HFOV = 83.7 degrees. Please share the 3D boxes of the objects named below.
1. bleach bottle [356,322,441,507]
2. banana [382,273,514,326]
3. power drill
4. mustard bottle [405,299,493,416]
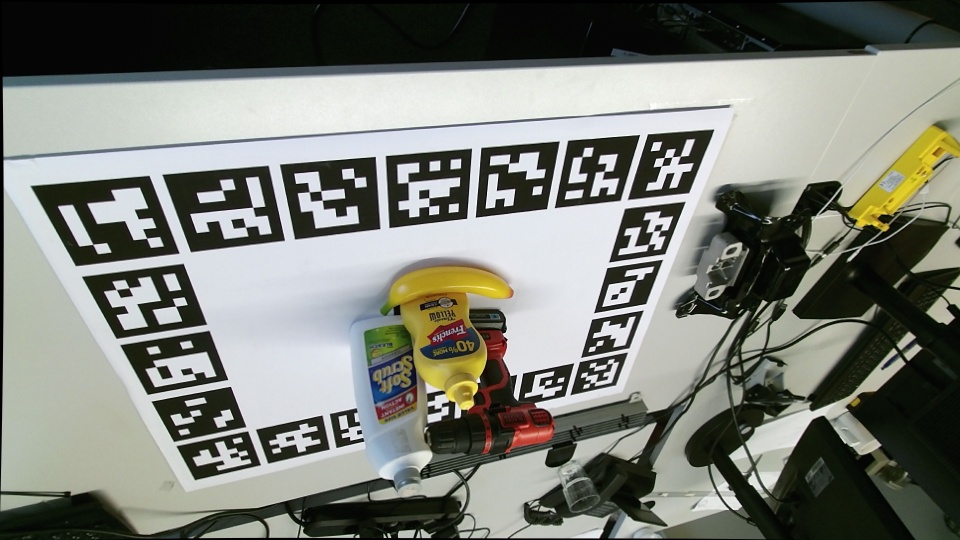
[{"bbox_3d":[-0.099,0.183,0.706,0.103,0.249,0.068,-6,135,-18],"label":"bleach bottle"},{"bbox_3d":[-0.040,0.036,0.758,0.198,0.038,0.074,-6,128,-21],"label":"banana"},{"bbox_3d":[0.005,0.176,0.747,0.185,0.186,0.057,3,127,-22],"label":"power drill"},{"bbox_3d":[-0.035,0.113,0.707,0.096,0.190,0.058,-8,129,-16],"label":"mustard bottle"}]
